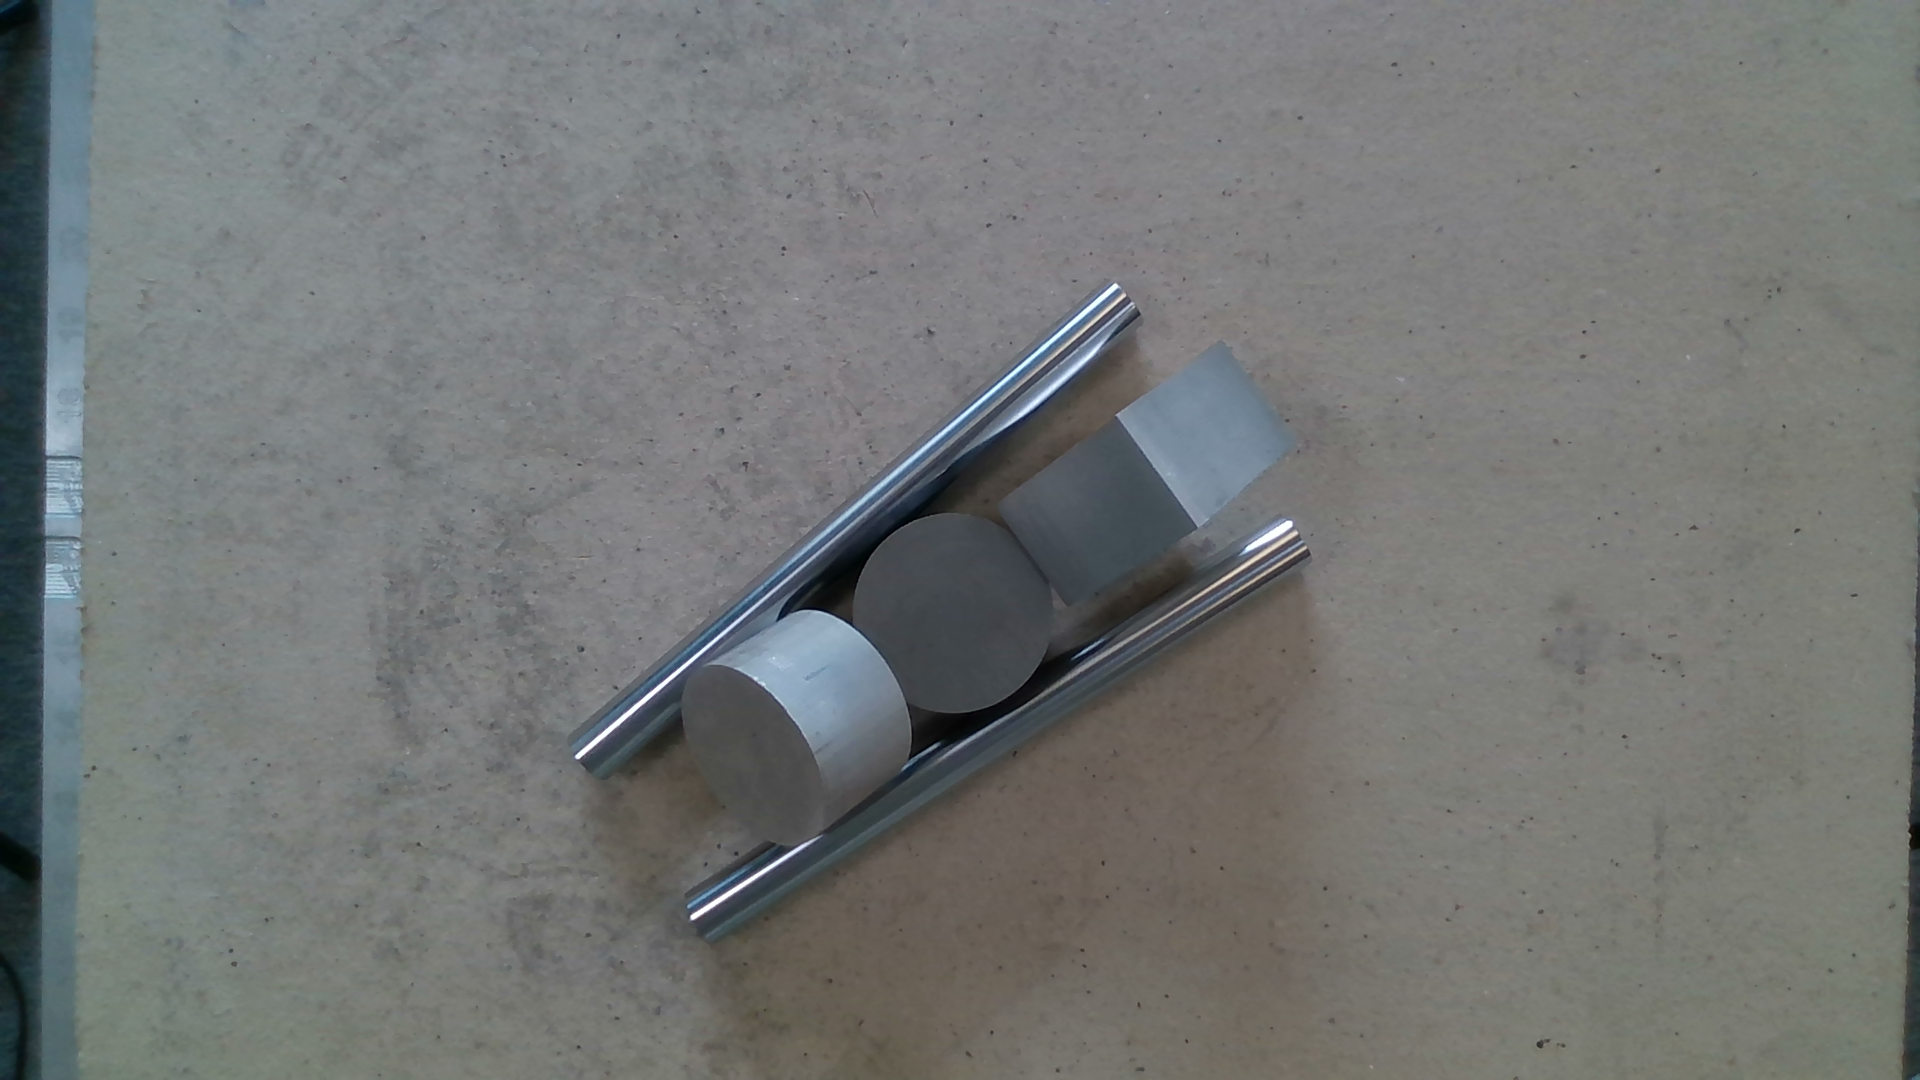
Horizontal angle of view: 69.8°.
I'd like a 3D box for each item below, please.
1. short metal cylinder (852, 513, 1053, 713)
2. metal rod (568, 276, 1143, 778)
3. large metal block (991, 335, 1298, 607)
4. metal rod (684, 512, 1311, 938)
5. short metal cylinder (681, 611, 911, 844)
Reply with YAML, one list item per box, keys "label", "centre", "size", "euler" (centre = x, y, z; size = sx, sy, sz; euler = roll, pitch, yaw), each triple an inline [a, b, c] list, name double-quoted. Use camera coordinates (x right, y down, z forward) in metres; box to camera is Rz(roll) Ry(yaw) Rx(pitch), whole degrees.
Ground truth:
- label: "short metal cylinder"
  centre: [-0.003, 0.029, 0.575]
  size: [0.080, 0.050, 0.080]
  euler: [0, 90, 0]
- label: "metal rod"
  centre: [-0.044, -0.005, 0.587]
  size: [0.300, 0.025, 0.025]
  euler: [-40, 90, 0]
- label: "large metal block"
  centre: [0.073, -0.027, 0.544]
  size: [0.080, 0.080, 0.050]
  euler: [-37, 91, -42]
- label: "metal rod"
  centre: [0.016, 0.079, 0.588]
  size: [0.300, 0.025, 0.025]
  euler: [-32, 90, 0]
- label: "short metal cylinder"
  centre: [-0.066, 0.074, 0.555]
  size: [0.050, 0.080, 0.080]
  euler: [-32, 91, -42]
